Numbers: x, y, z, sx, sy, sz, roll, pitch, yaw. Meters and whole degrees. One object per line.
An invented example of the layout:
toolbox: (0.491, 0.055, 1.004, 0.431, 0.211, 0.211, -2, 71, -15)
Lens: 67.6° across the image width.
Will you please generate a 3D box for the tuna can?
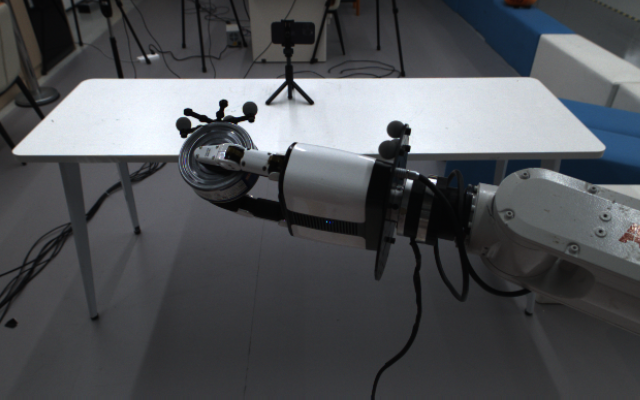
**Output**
tuna can: (-0.105, -0.037, 0.528, 0.085, 0.034, 0.085, -4, 68, 9)
